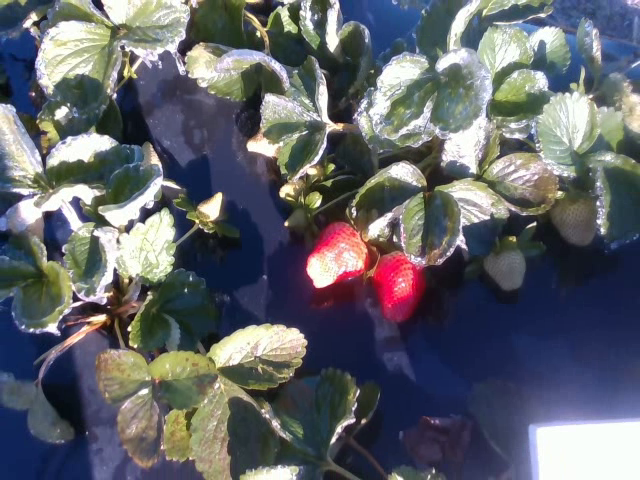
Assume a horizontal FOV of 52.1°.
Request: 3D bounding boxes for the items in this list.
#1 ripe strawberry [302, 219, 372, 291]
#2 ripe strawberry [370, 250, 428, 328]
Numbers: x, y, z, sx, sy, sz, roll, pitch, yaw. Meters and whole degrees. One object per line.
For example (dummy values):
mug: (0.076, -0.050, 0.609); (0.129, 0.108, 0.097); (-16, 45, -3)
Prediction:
ripe strawberry: (0.014, 0.018, 0.531); (0.052, 0.070, 0.040); (43, -11, 6)
ripe strawberry: (0.062, 0.035, 0.512); (0.043, 0.059, 0.040); (-4, -17, 6)
